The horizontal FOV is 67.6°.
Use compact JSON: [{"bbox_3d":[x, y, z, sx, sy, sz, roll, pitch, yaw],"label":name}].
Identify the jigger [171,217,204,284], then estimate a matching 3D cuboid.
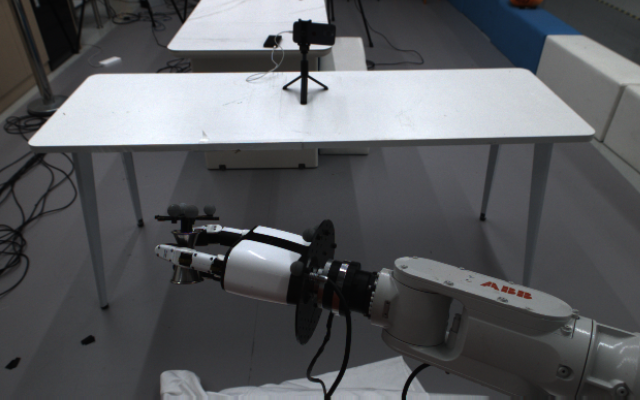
[{"bbox_3d":[-0.178,0.074,0.652,0.043,0.071,0.043,0,3,0],"label":"jigger"}]
